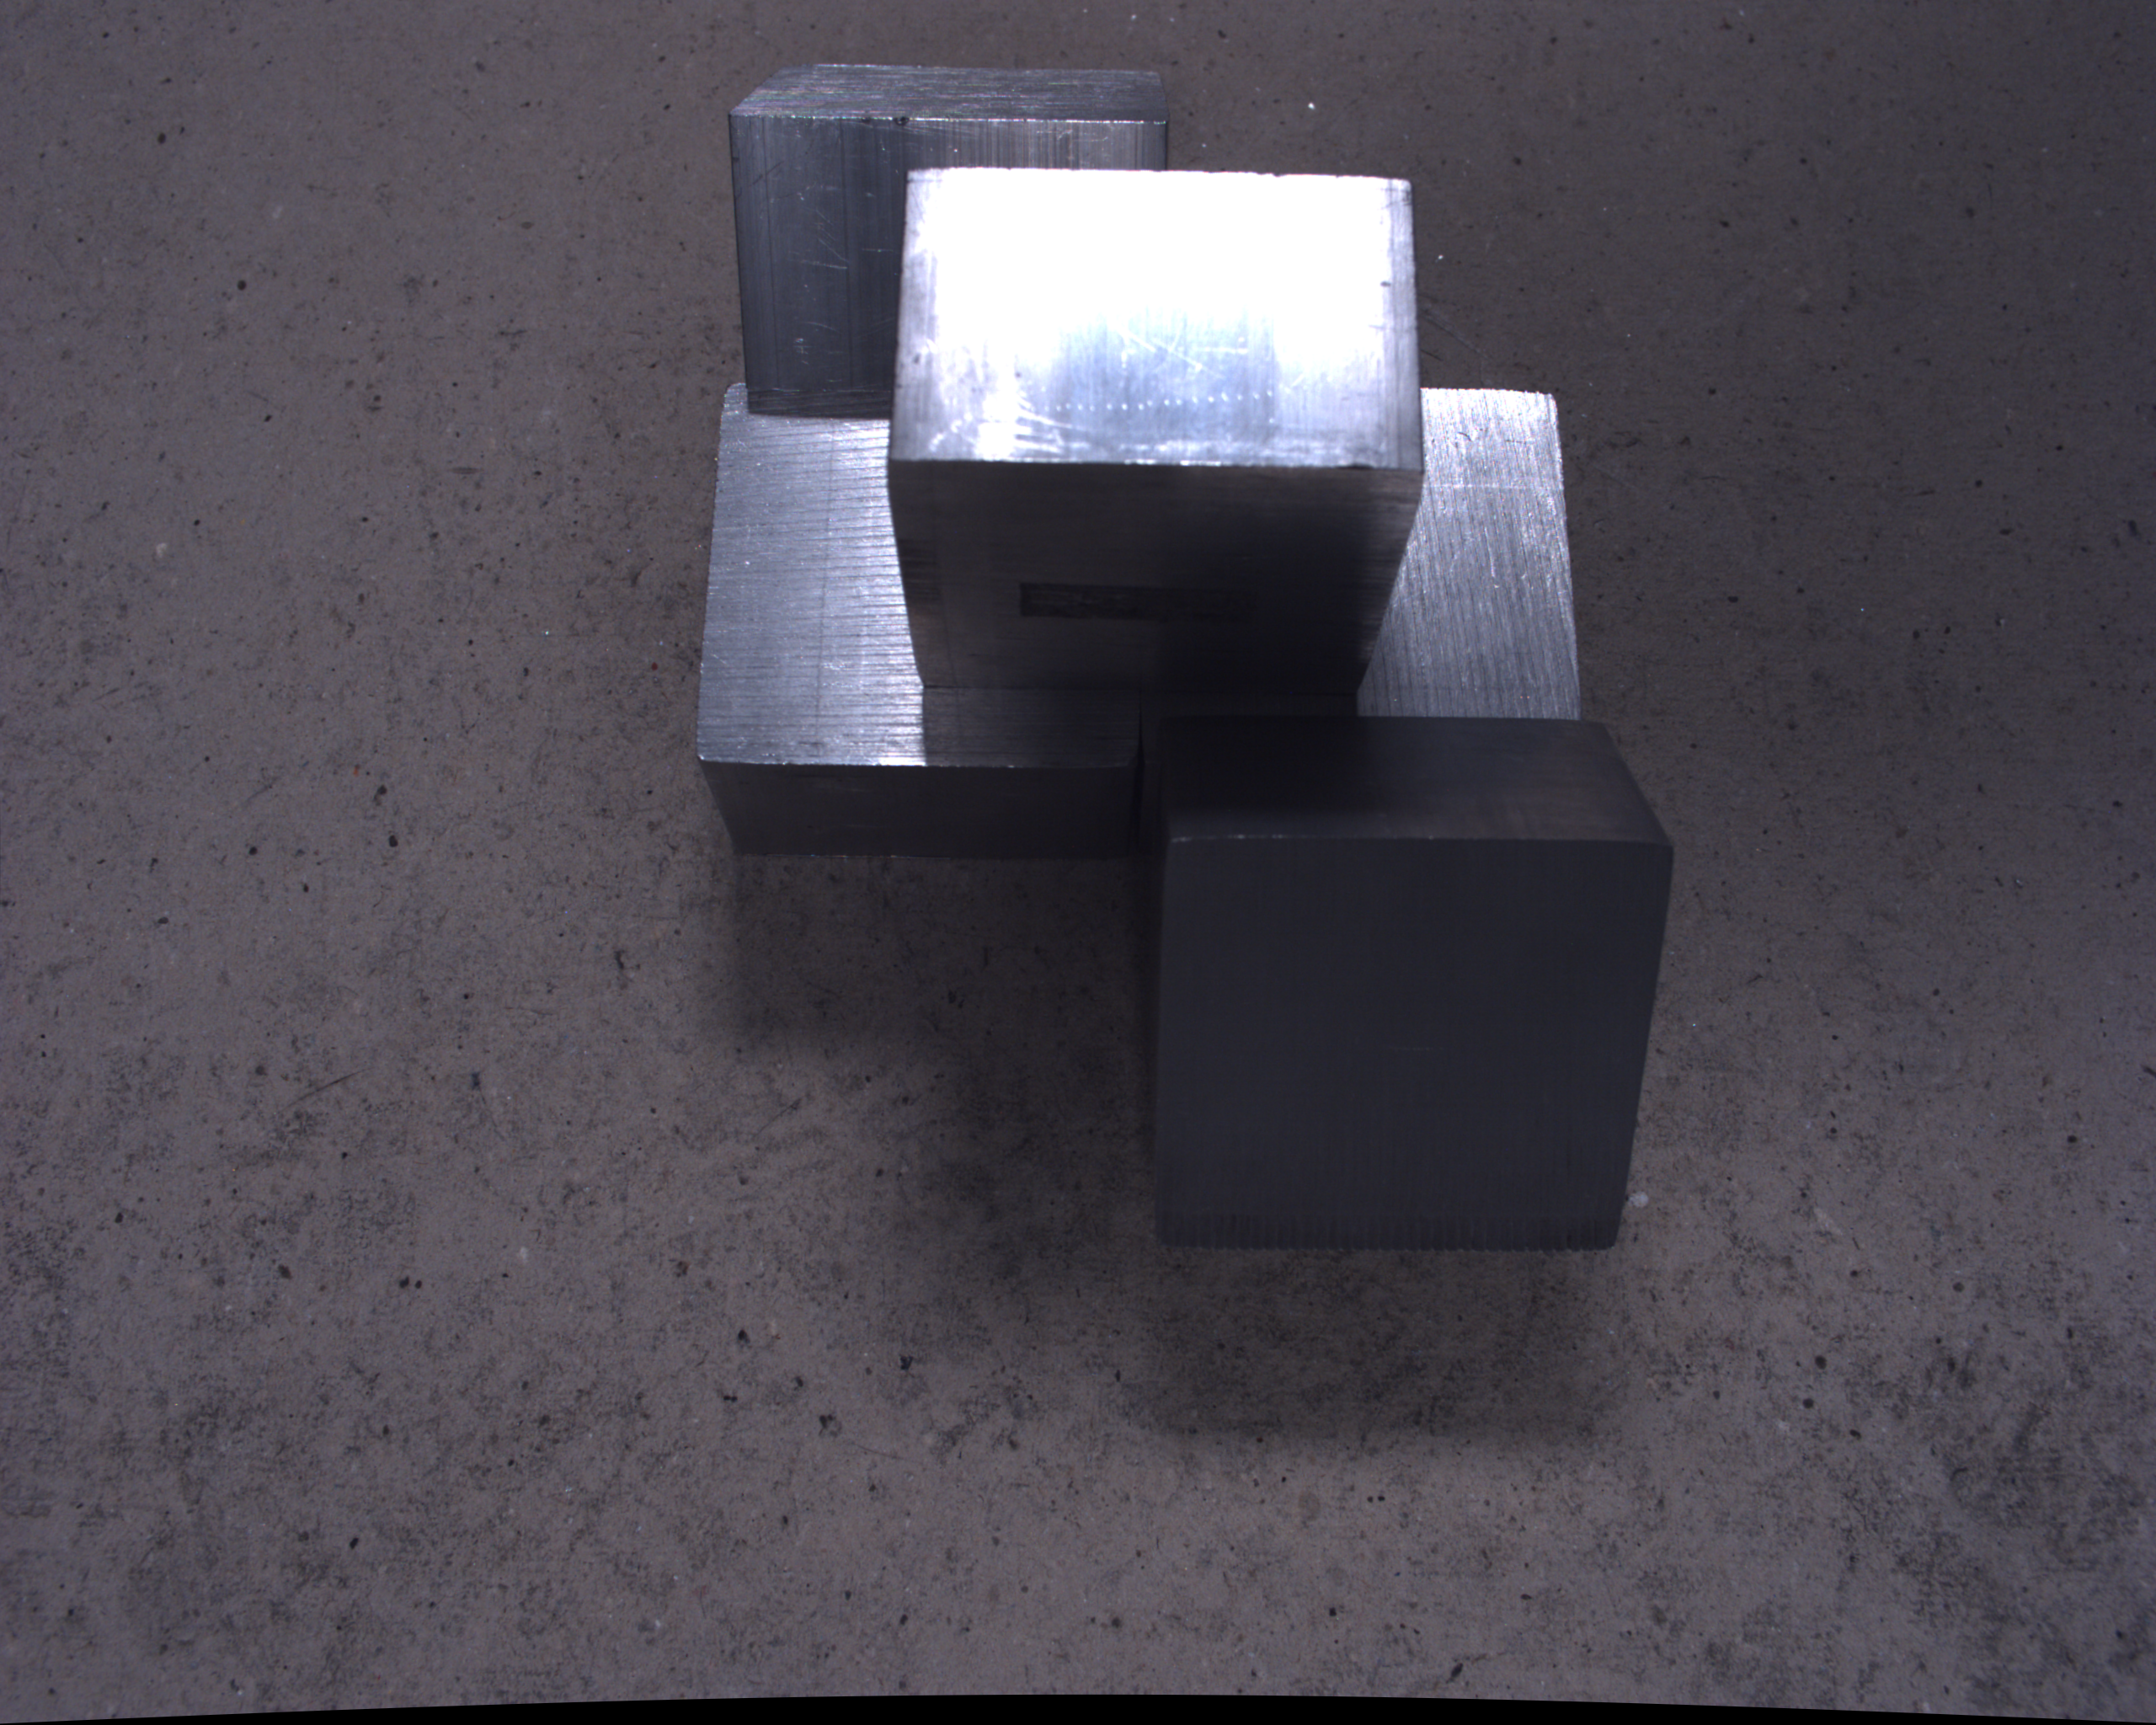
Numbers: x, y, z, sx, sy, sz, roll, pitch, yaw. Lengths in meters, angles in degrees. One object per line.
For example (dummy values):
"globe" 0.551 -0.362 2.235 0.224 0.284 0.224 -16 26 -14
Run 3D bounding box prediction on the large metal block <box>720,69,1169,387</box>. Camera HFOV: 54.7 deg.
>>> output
"large metal block" -0.024 -0.130 0.421 0.081 0.050 0.080 0 26 0

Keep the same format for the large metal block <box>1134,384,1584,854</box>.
"large metal block" 0.052 -0.047 0.412 0.081 0.050 0.080 1 70 0

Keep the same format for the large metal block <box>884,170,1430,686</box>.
"large metal block" 0.012 -0.070 0.353 0.081 0.080 0.050 1 70 0

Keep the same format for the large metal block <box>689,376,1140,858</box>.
"large metal block" -0.029 -0.047 0.411 0.081 0.050 0.080 1 70 0

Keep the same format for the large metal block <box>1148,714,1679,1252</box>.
"large metal block" 0.054 0.021 0.367 0.081 0.079 0.050 1 26 -1
